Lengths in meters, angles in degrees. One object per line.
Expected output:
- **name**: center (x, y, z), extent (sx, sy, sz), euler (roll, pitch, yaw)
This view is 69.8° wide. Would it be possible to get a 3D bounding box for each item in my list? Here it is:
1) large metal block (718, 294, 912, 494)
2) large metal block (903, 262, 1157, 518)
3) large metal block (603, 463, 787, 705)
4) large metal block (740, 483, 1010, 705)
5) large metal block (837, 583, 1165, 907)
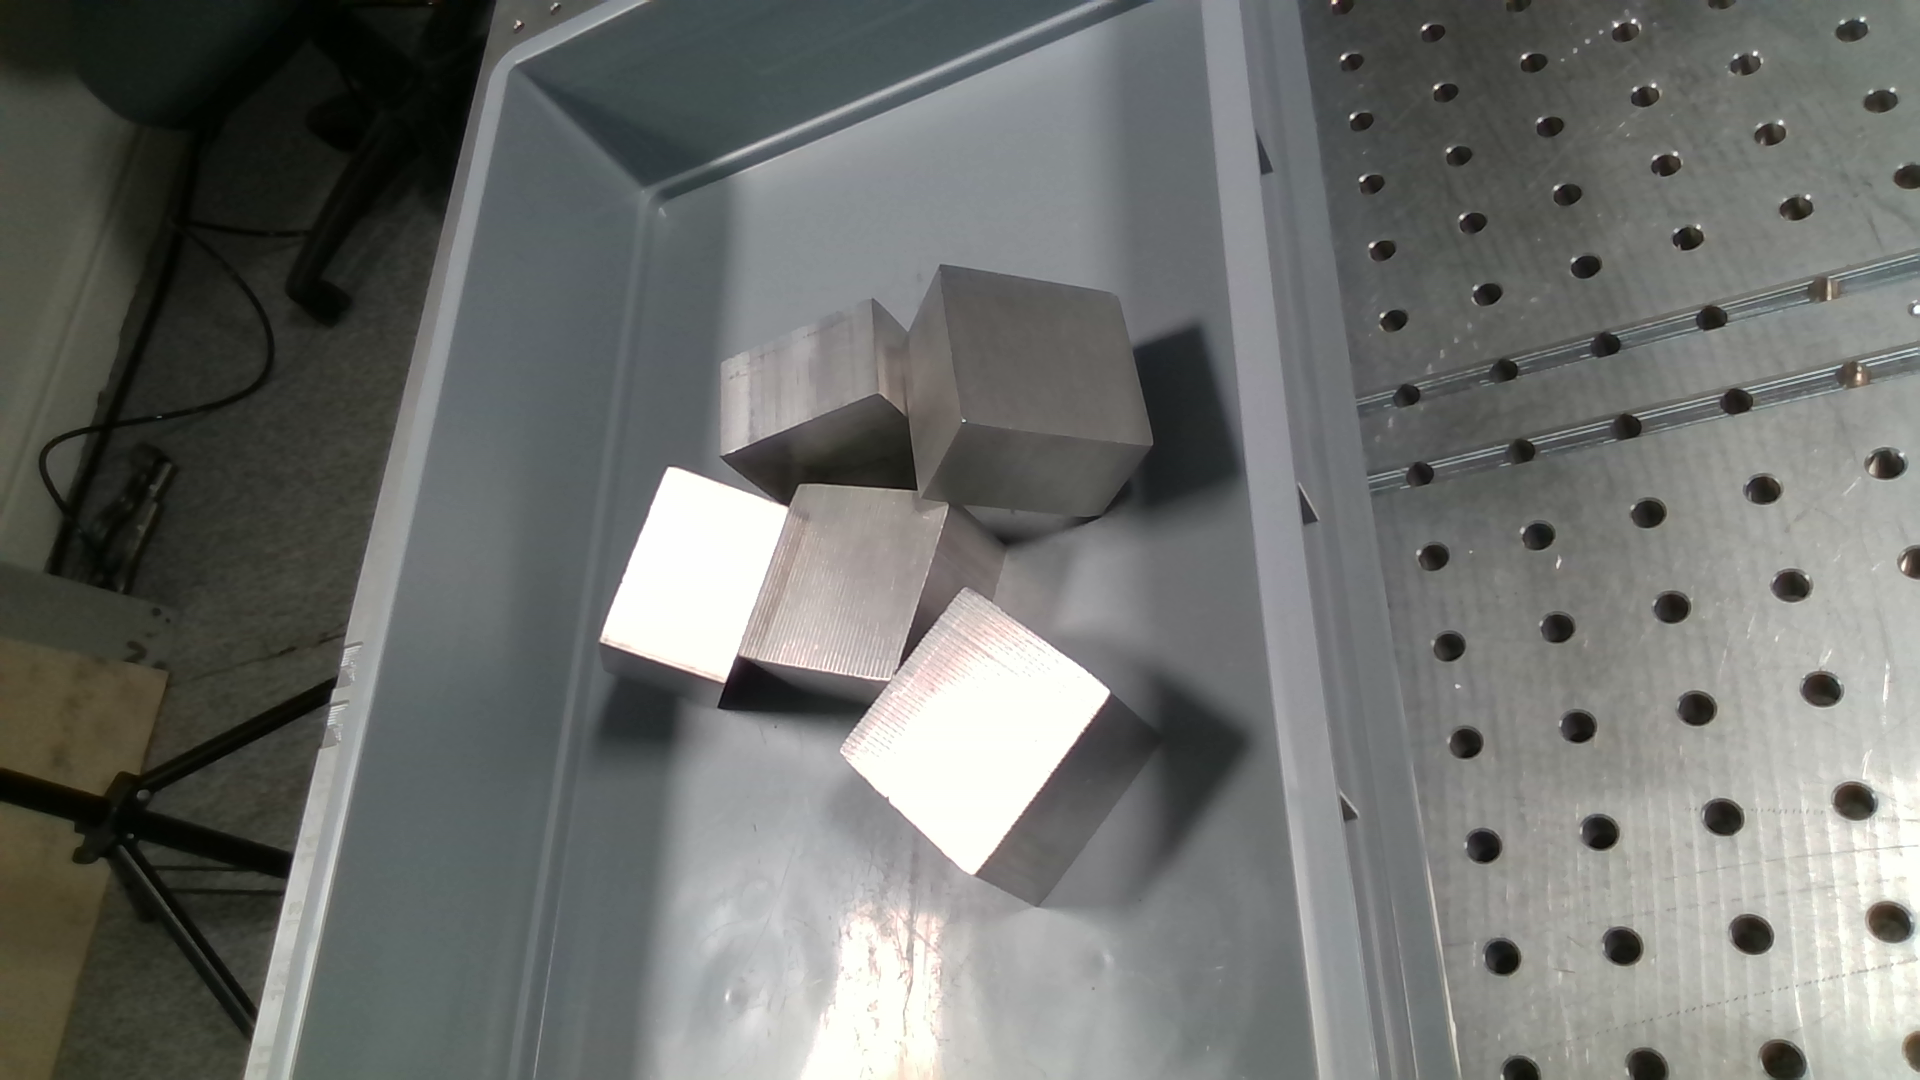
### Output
- **large metal block**: center (-0.050, -0.052, 0.608), extent (0.080, 0.080, 0.050), euler (-20, 57, 22)
- **large metal block**: center (0.026, -0.060, 0.557), extent (0.050, 0.080, 0.080), euler (122, 148, -51)
- **large metal block**: center (-0.115, 0.022, 0.600), extent (0.050, 0.080, 0.080), euler (19, 73, -7)
- **large metal block**: center (-0.035, 0.025, 0.578), extent (0.080, 0.050, 0.080), euler (5, 68, 33)
- **large metal block**: center (0.015, 0.076, 0.518), extent (0.080, 0.050, 0.080), euler (35, 86, 39)
